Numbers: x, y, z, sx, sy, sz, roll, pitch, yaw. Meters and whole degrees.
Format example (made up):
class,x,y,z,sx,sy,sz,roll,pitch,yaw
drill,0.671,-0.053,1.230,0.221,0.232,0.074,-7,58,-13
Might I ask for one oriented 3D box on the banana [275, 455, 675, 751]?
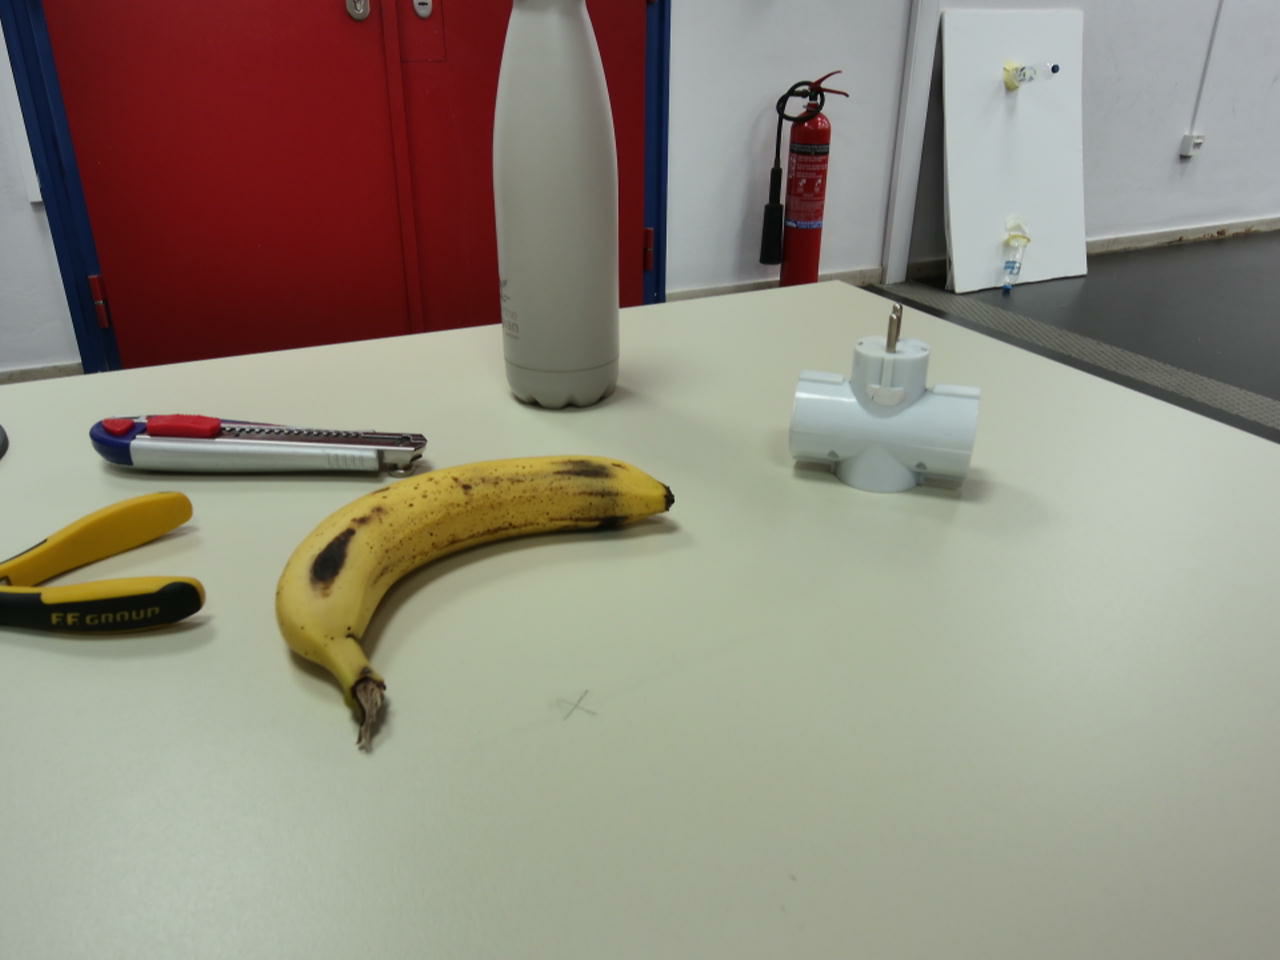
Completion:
class,x,y,z,sx,sy,sz,roll,pitch,yaw
banana,-0.074,0.026,0.420,0.097,0.038,0.186,16,28,32
